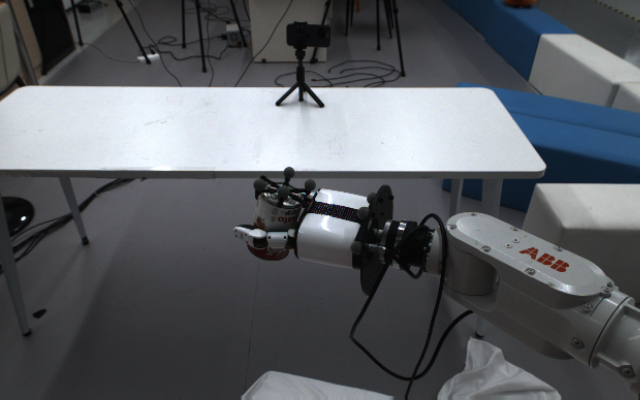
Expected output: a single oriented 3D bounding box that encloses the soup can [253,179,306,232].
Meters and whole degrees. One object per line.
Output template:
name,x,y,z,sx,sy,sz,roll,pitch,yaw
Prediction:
soup can,-0.067,0.032,0.731,0.067,0.101,0.067,13,31,-8
